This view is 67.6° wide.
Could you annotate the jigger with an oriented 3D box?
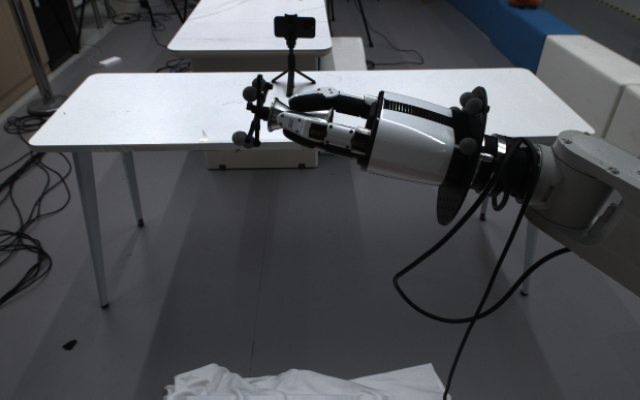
[{"bbox_3d":[-0.015,-0.094,0.556,0.071,0.043,0.043,12,36,5],"label":"jigger"}]
